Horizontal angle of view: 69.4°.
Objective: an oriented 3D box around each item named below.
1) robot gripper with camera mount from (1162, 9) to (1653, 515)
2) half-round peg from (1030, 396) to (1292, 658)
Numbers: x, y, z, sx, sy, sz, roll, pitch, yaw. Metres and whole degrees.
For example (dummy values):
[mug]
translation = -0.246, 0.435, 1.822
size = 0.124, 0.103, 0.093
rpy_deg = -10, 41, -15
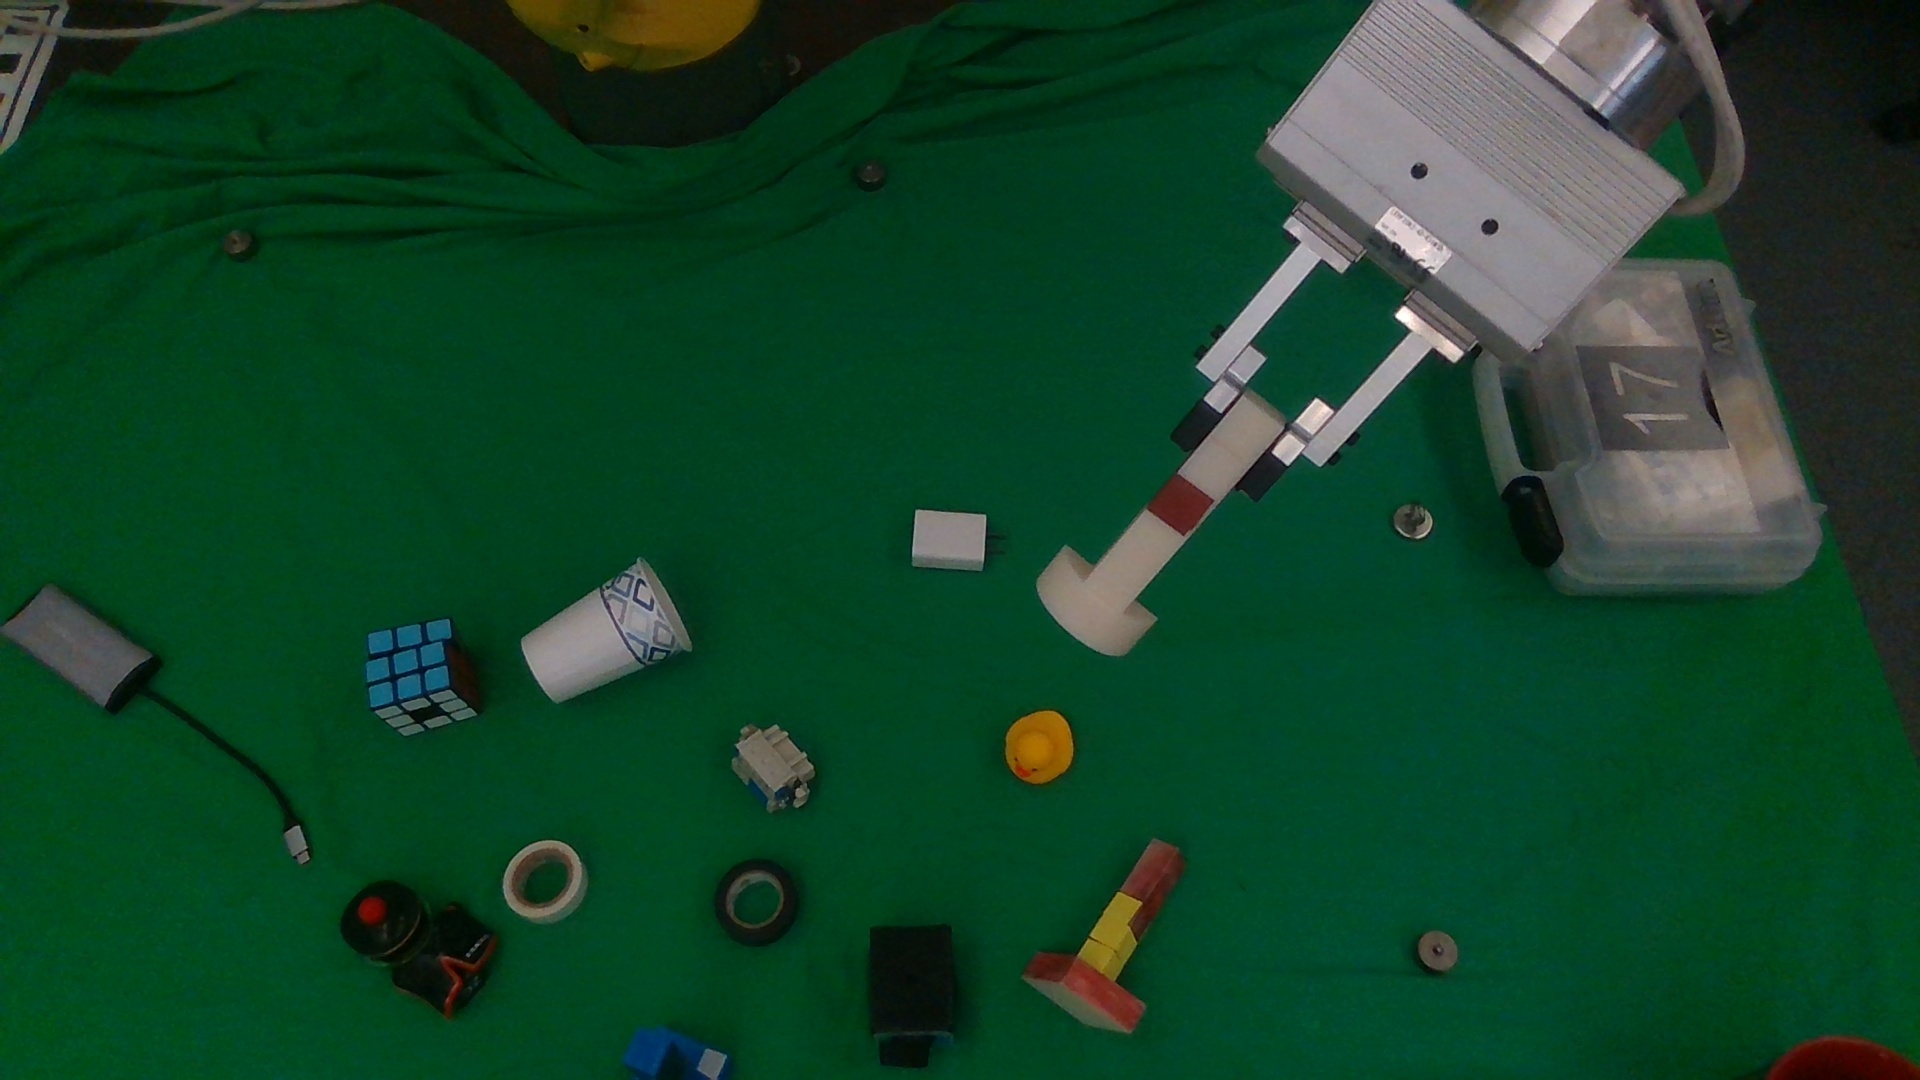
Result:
[robot gripper with camera mount]
translation = 0.159, -0.110, 0.560
size = 0.119, 0.159, 0.193
rpy_deg = 38, 27, 2
[half-round peg]
translation = 0.084, -0.006, 0.554
size = 0.054, 0.122, 0.031
rpy_deg = 35, 23, -8
